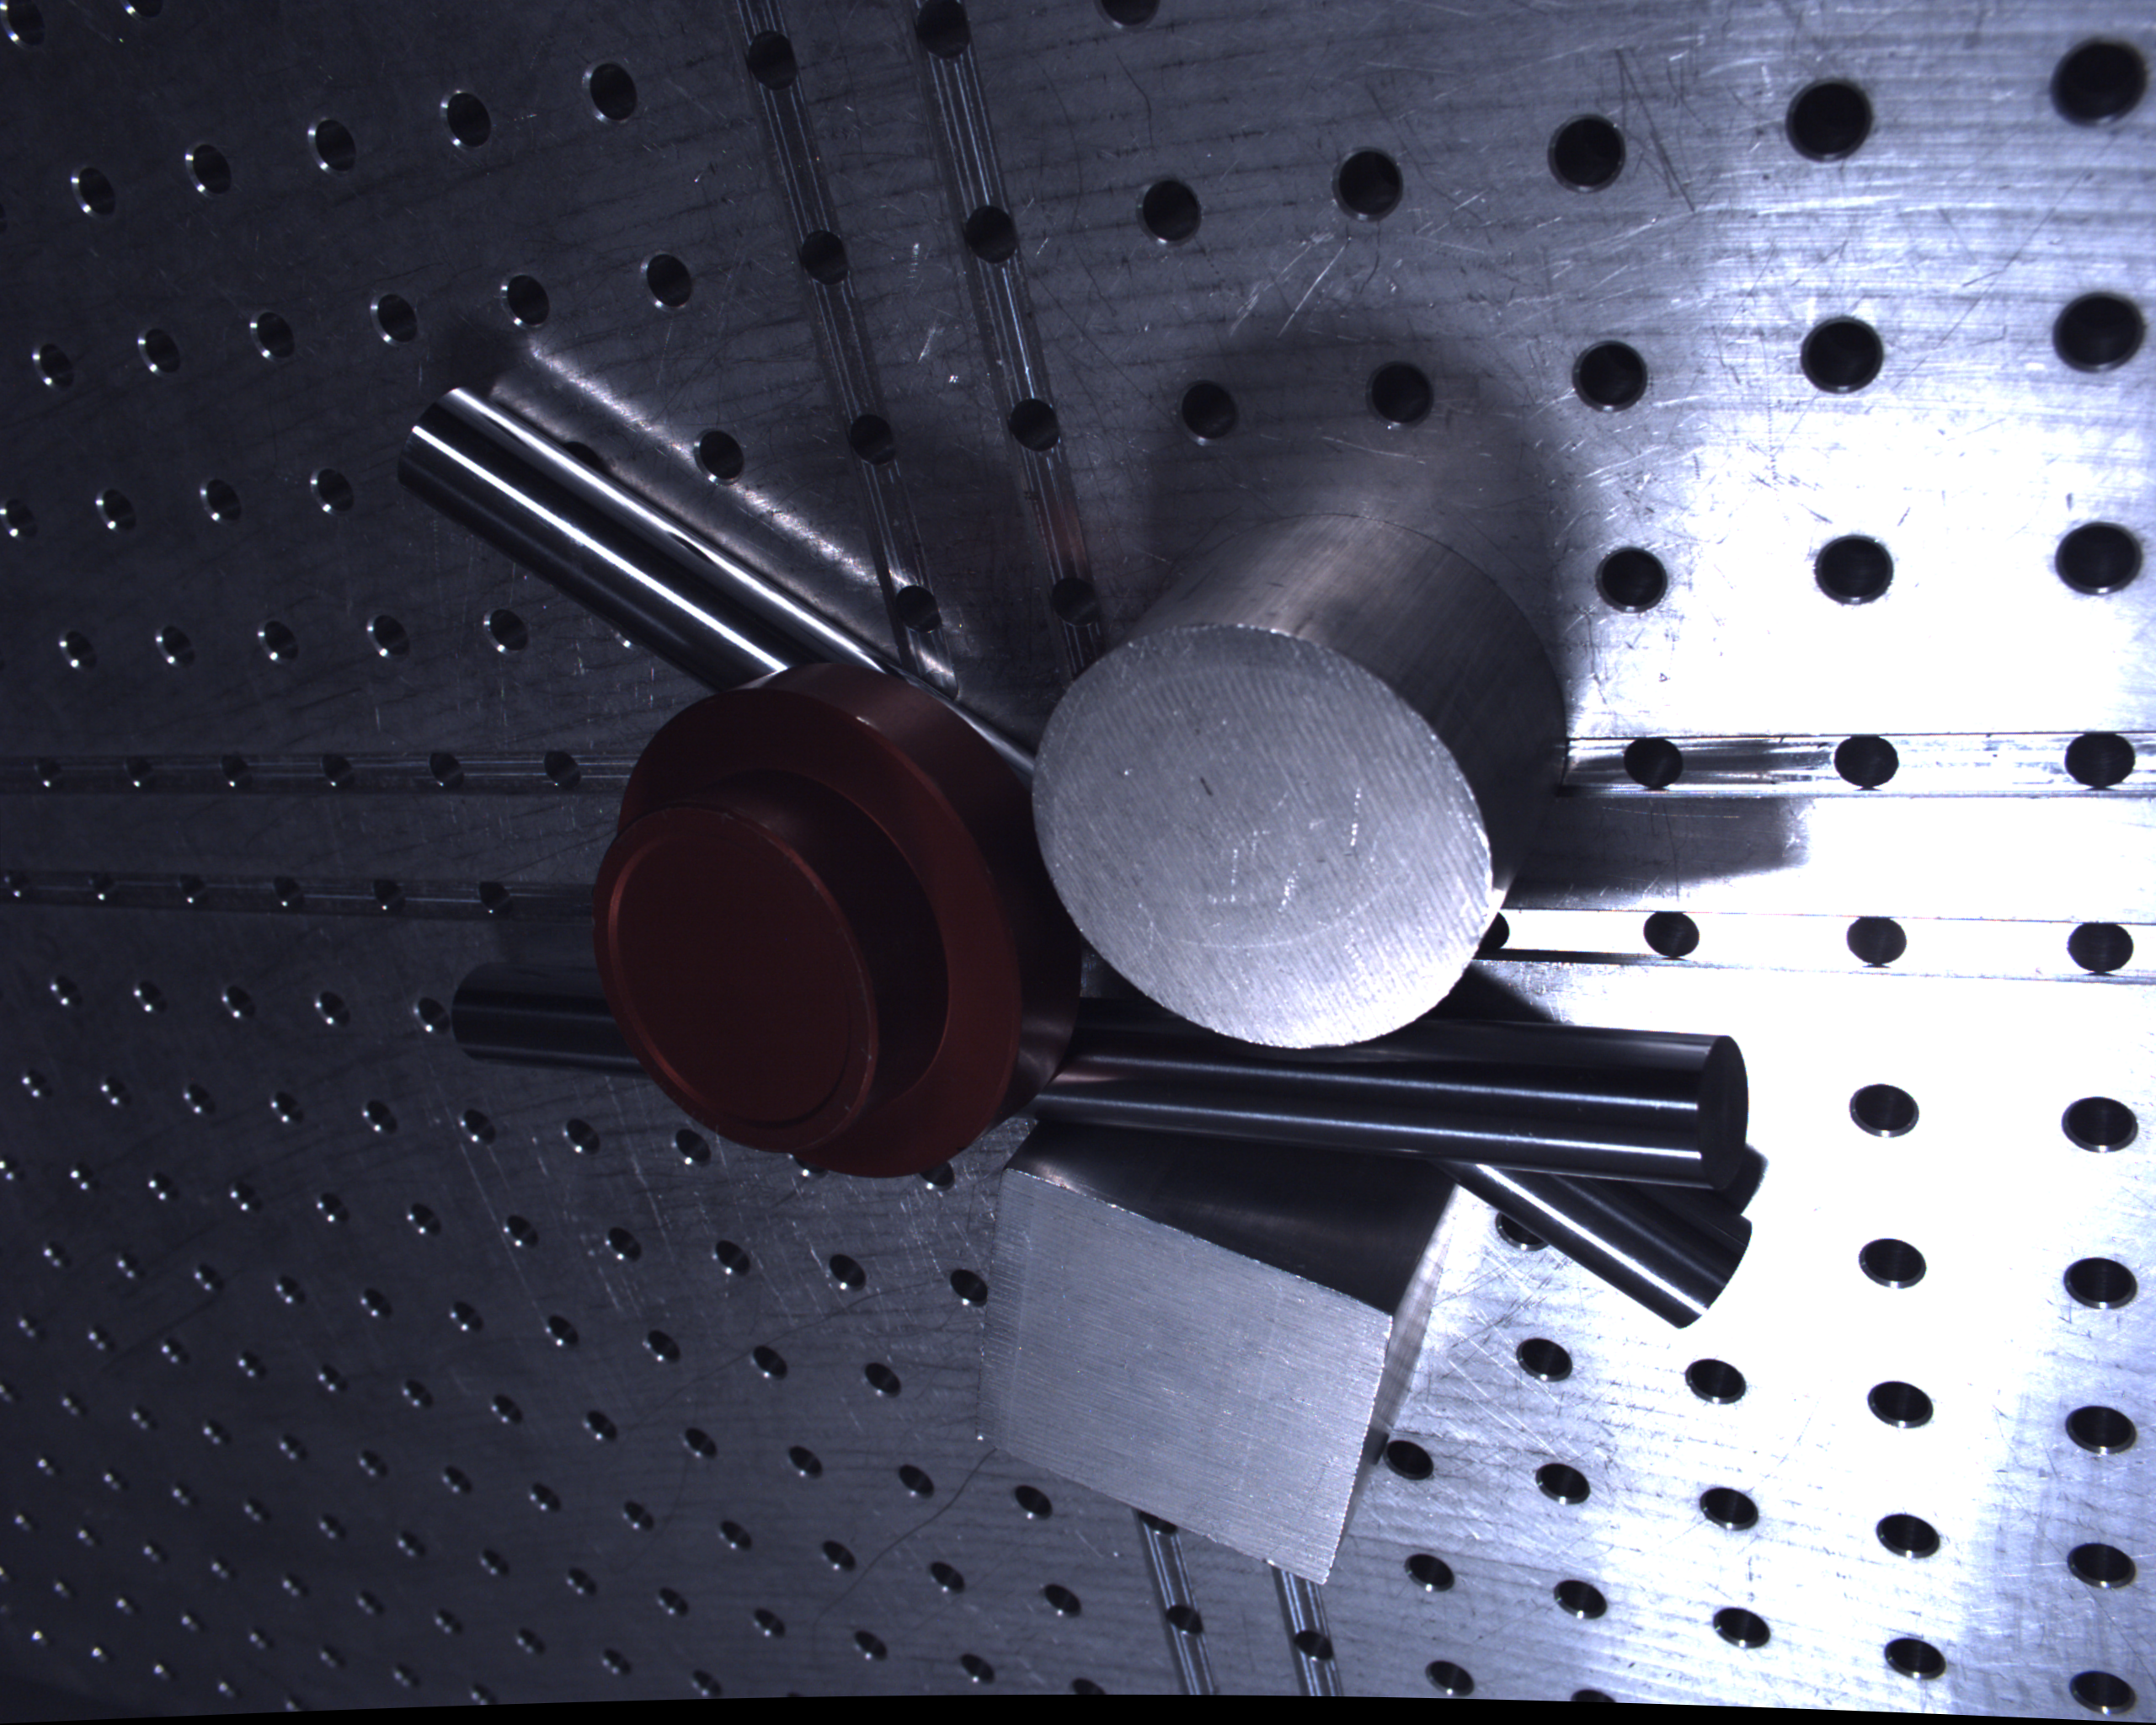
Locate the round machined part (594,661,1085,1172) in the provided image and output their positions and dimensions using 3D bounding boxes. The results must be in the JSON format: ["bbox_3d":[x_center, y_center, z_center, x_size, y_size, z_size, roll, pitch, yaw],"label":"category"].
[{"bbox_3d":[-0.051,0.015,0.391,0.098,0.042,0.097,14,117,29],"label":"round machined part"}]

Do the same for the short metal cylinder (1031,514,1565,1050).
[{"bbox_3d":[0.039,-0.014,0.363,0.080,0.050,0.079,13,124,20],"label":"short metal cylinder"}]

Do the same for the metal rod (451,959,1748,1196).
[{"bbox_3d":[-0.020,0.038,0.420,0.300,0.025,0.025,1,119,35],"label":"metal rod"}]

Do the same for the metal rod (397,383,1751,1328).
[{"bbox_3d":[-0.005,-0.005,0.410,0.301,0.025,0.025,33,129,5],"label":"metal rod"}]

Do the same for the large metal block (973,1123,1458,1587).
[{"bbox_3d":[0.028,0.090,0.432,0.080,0.050,0.079,18,126,17],"label":"large metal block"}]
